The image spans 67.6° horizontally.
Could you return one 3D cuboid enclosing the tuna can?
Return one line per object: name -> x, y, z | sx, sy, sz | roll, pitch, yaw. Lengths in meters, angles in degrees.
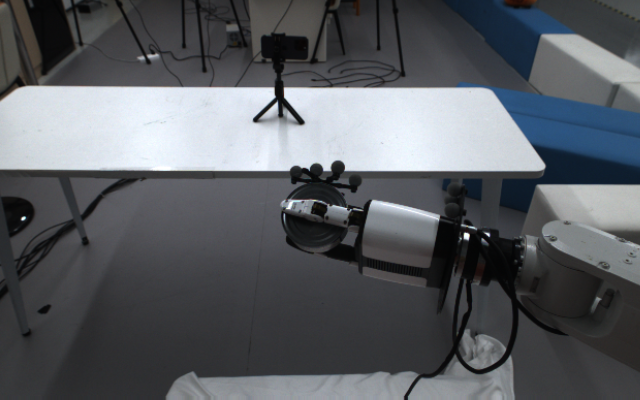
tuna can -> -0.003, 0.020, 0.617 | 0.085, 0.034, 0.085 | -3, 69, 7
